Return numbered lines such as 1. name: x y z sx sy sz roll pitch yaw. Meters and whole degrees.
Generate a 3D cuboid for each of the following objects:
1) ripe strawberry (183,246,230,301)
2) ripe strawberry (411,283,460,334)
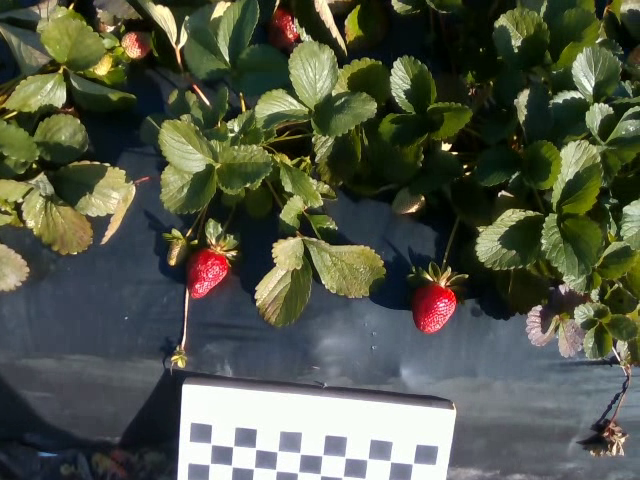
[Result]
1. ripe strawberry: -0.104 0.032 0.566 0.042 0.053 0.043 16 -28 -6
2. ripe strawberry: 0.100 0.065 0.558 0.043 0.050 0.043 39 -35 -11
